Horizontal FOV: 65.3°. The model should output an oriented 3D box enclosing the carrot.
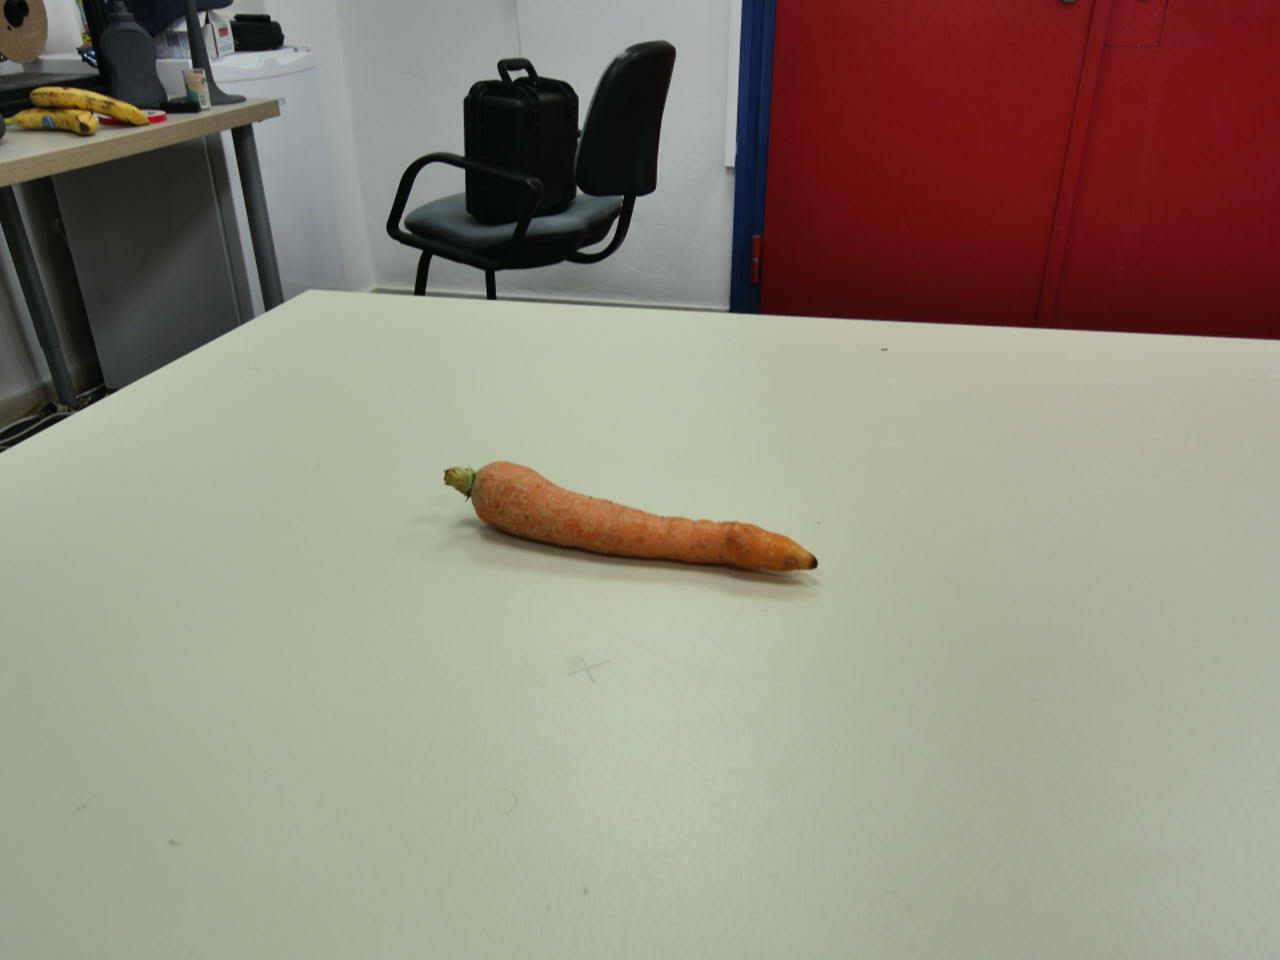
[{"bbox_3d":[-0.007,0.017,0.429,0.173,0.032,0.030,10,26,21],"label":"carrot"}]
